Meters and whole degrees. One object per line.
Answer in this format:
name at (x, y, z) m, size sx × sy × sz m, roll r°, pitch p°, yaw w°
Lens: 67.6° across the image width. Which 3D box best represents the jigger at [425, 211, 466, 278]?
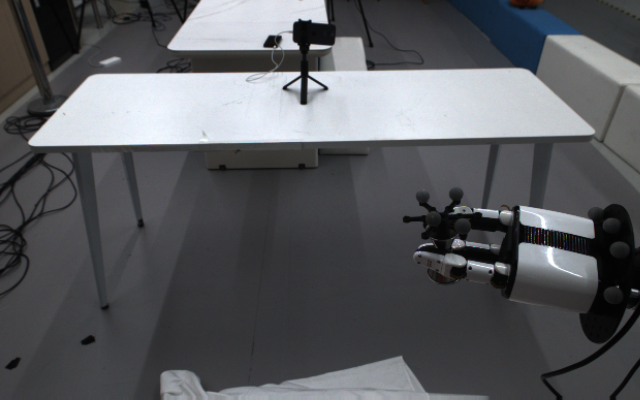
jigger at (0.152, 0.061, 0.597) m, size 0.043 × 0.071 × 0.043 m, roll -9°, pitch 31°, yaw 5°
